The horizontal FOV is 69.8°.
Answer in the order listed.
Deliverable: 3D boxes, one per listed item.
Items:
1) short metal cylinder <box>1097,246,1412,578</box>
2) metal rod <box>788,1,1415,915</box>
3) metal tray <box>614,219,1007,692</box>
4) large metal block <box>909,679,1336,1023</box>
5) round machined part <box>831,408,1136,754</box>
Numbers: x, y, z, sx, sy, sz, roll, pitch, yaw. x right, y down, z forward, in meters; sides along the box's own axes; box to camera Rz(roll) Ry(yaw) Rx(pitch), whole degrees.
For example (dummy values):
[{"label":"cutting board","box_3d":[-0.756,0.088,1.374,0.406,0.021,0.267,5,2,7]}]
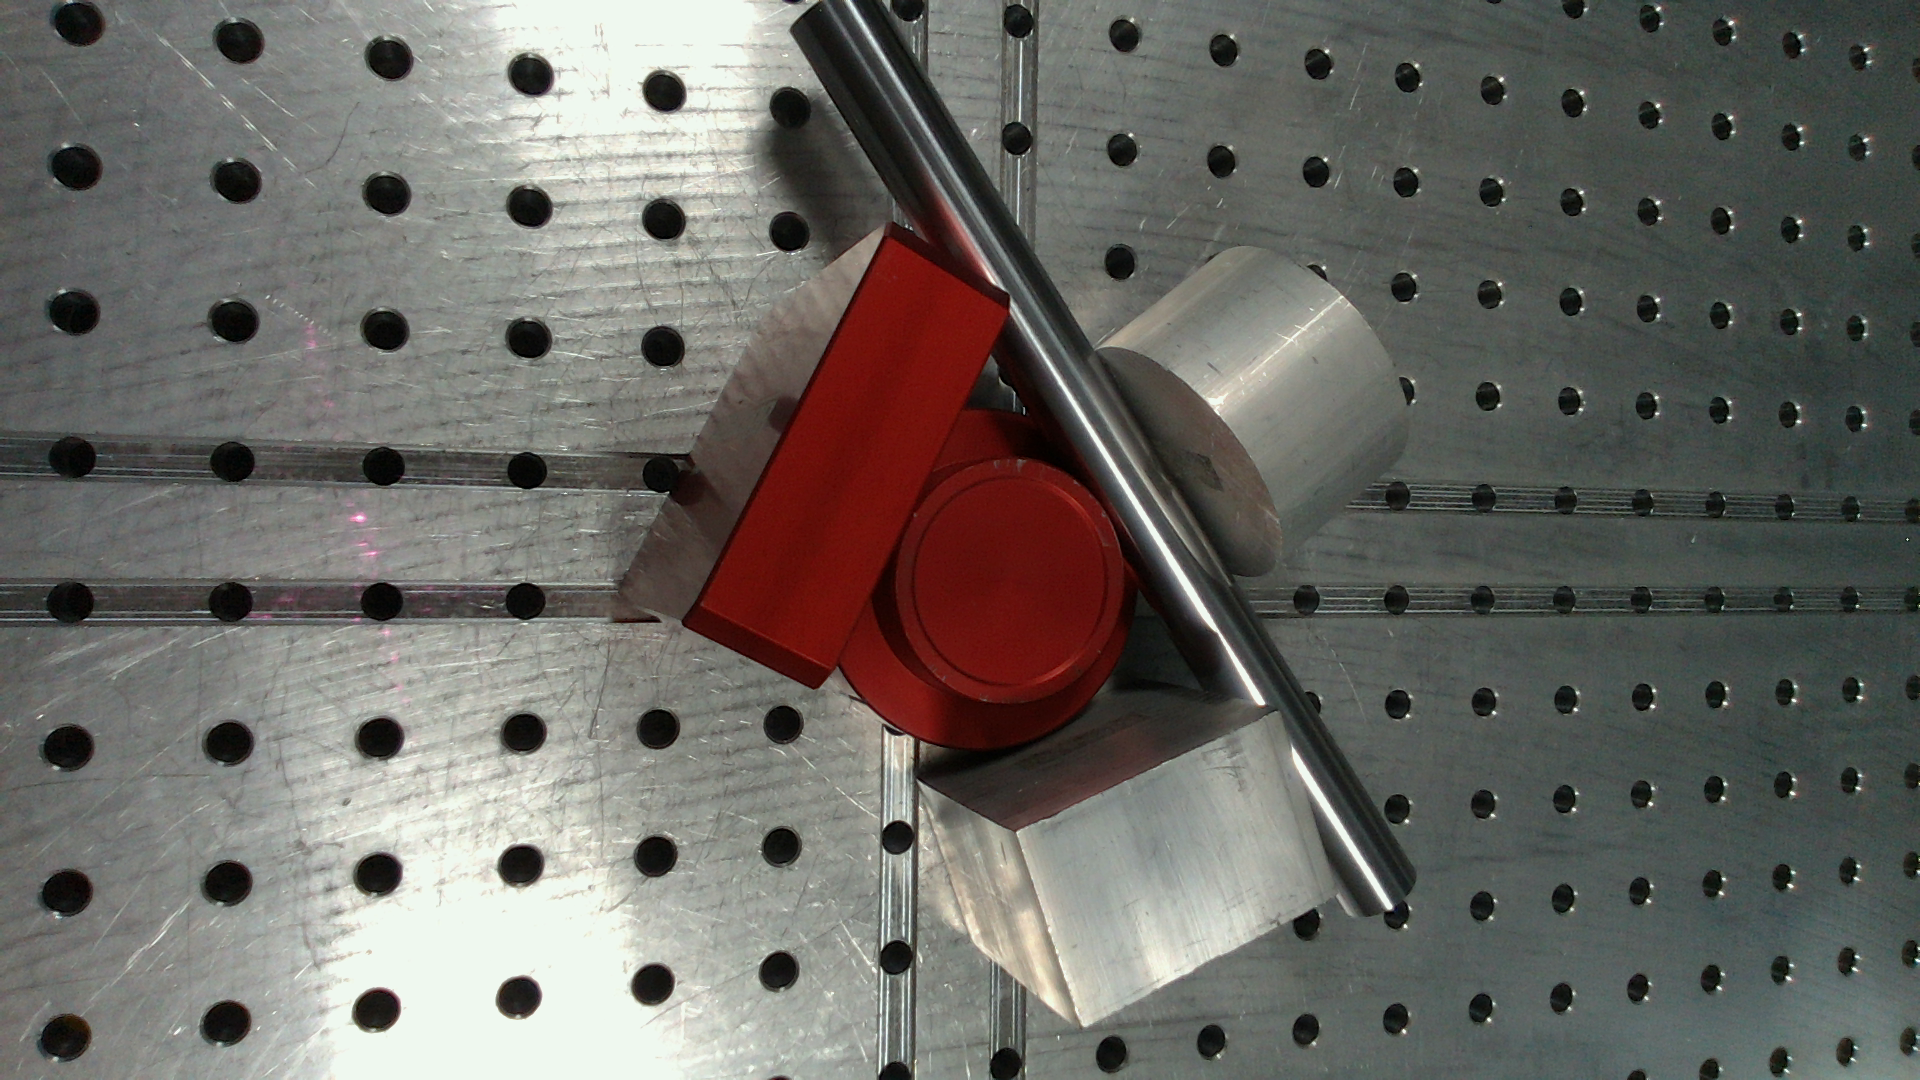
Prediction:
[{"label":"short metal cylinder","box_3d":[0.081,-0.036,0.395,0.050,0.080,0.080,-39,102,-16]},{"label":"metal rod","box_3d":[0.046,-0.017,0.390,0.025,0.025,0.300,-37,102,-16]},{"label":"metal tray","box_3d":[-0.042,-0.017,0.325,0.030,0.130,0.090,29,81,-17]},{"label":"large metal block","box_3d":[0.042,0.081,0.382,0.080,0.080,0.050,-20,97,-19]},{"label":"round machined part","box_3d":[0.007,0.012,0.389,0.098,0.042,0.098,0,90,-20]}]
